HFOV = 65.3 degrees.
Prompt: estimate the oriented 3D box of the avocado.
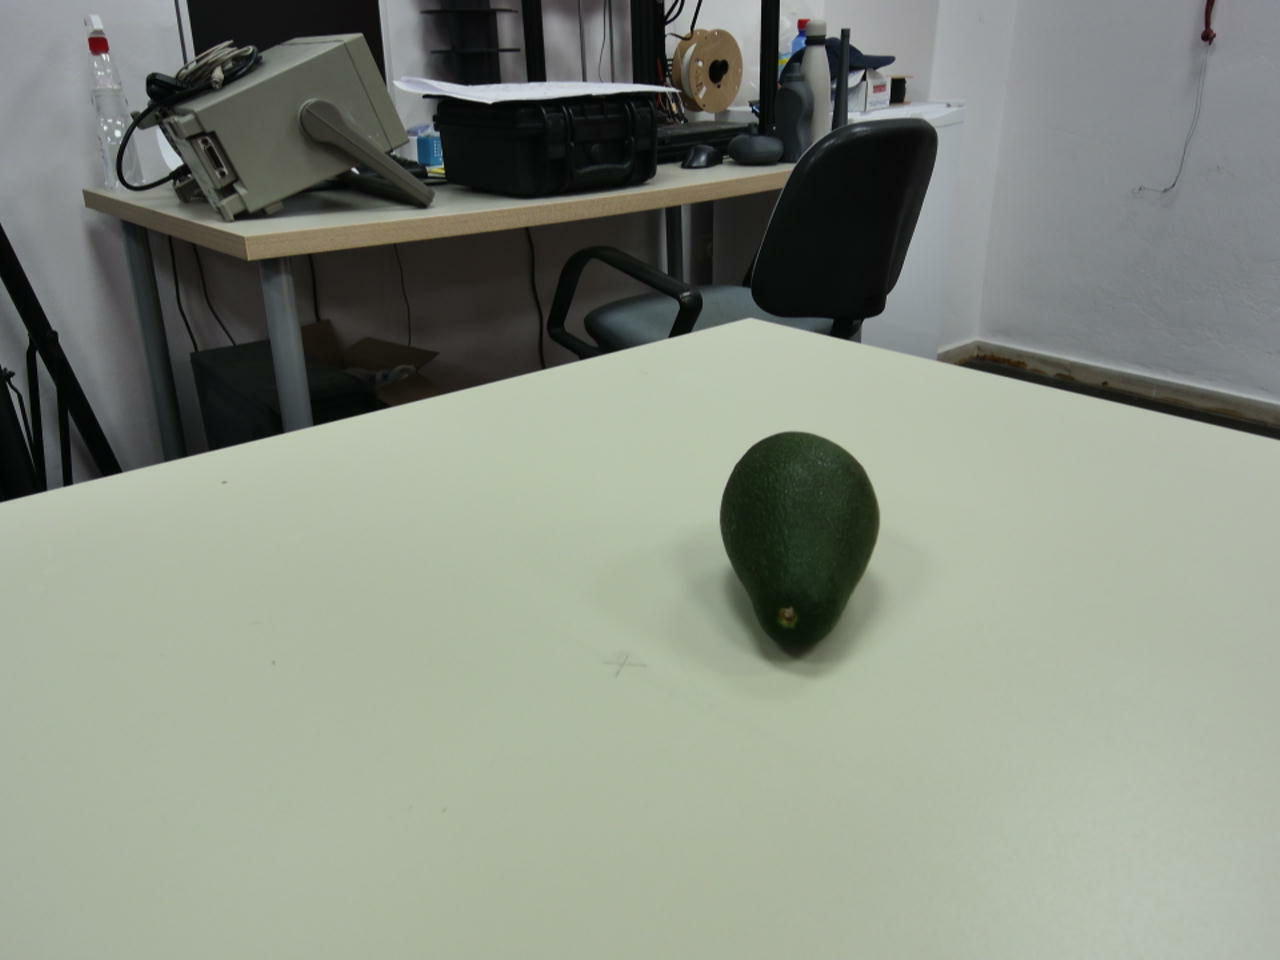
[{"bbox_3d":[0.066,0.020,0.437,0.073,0.071,0.109,10,25,26],"label":"avocado"}]
